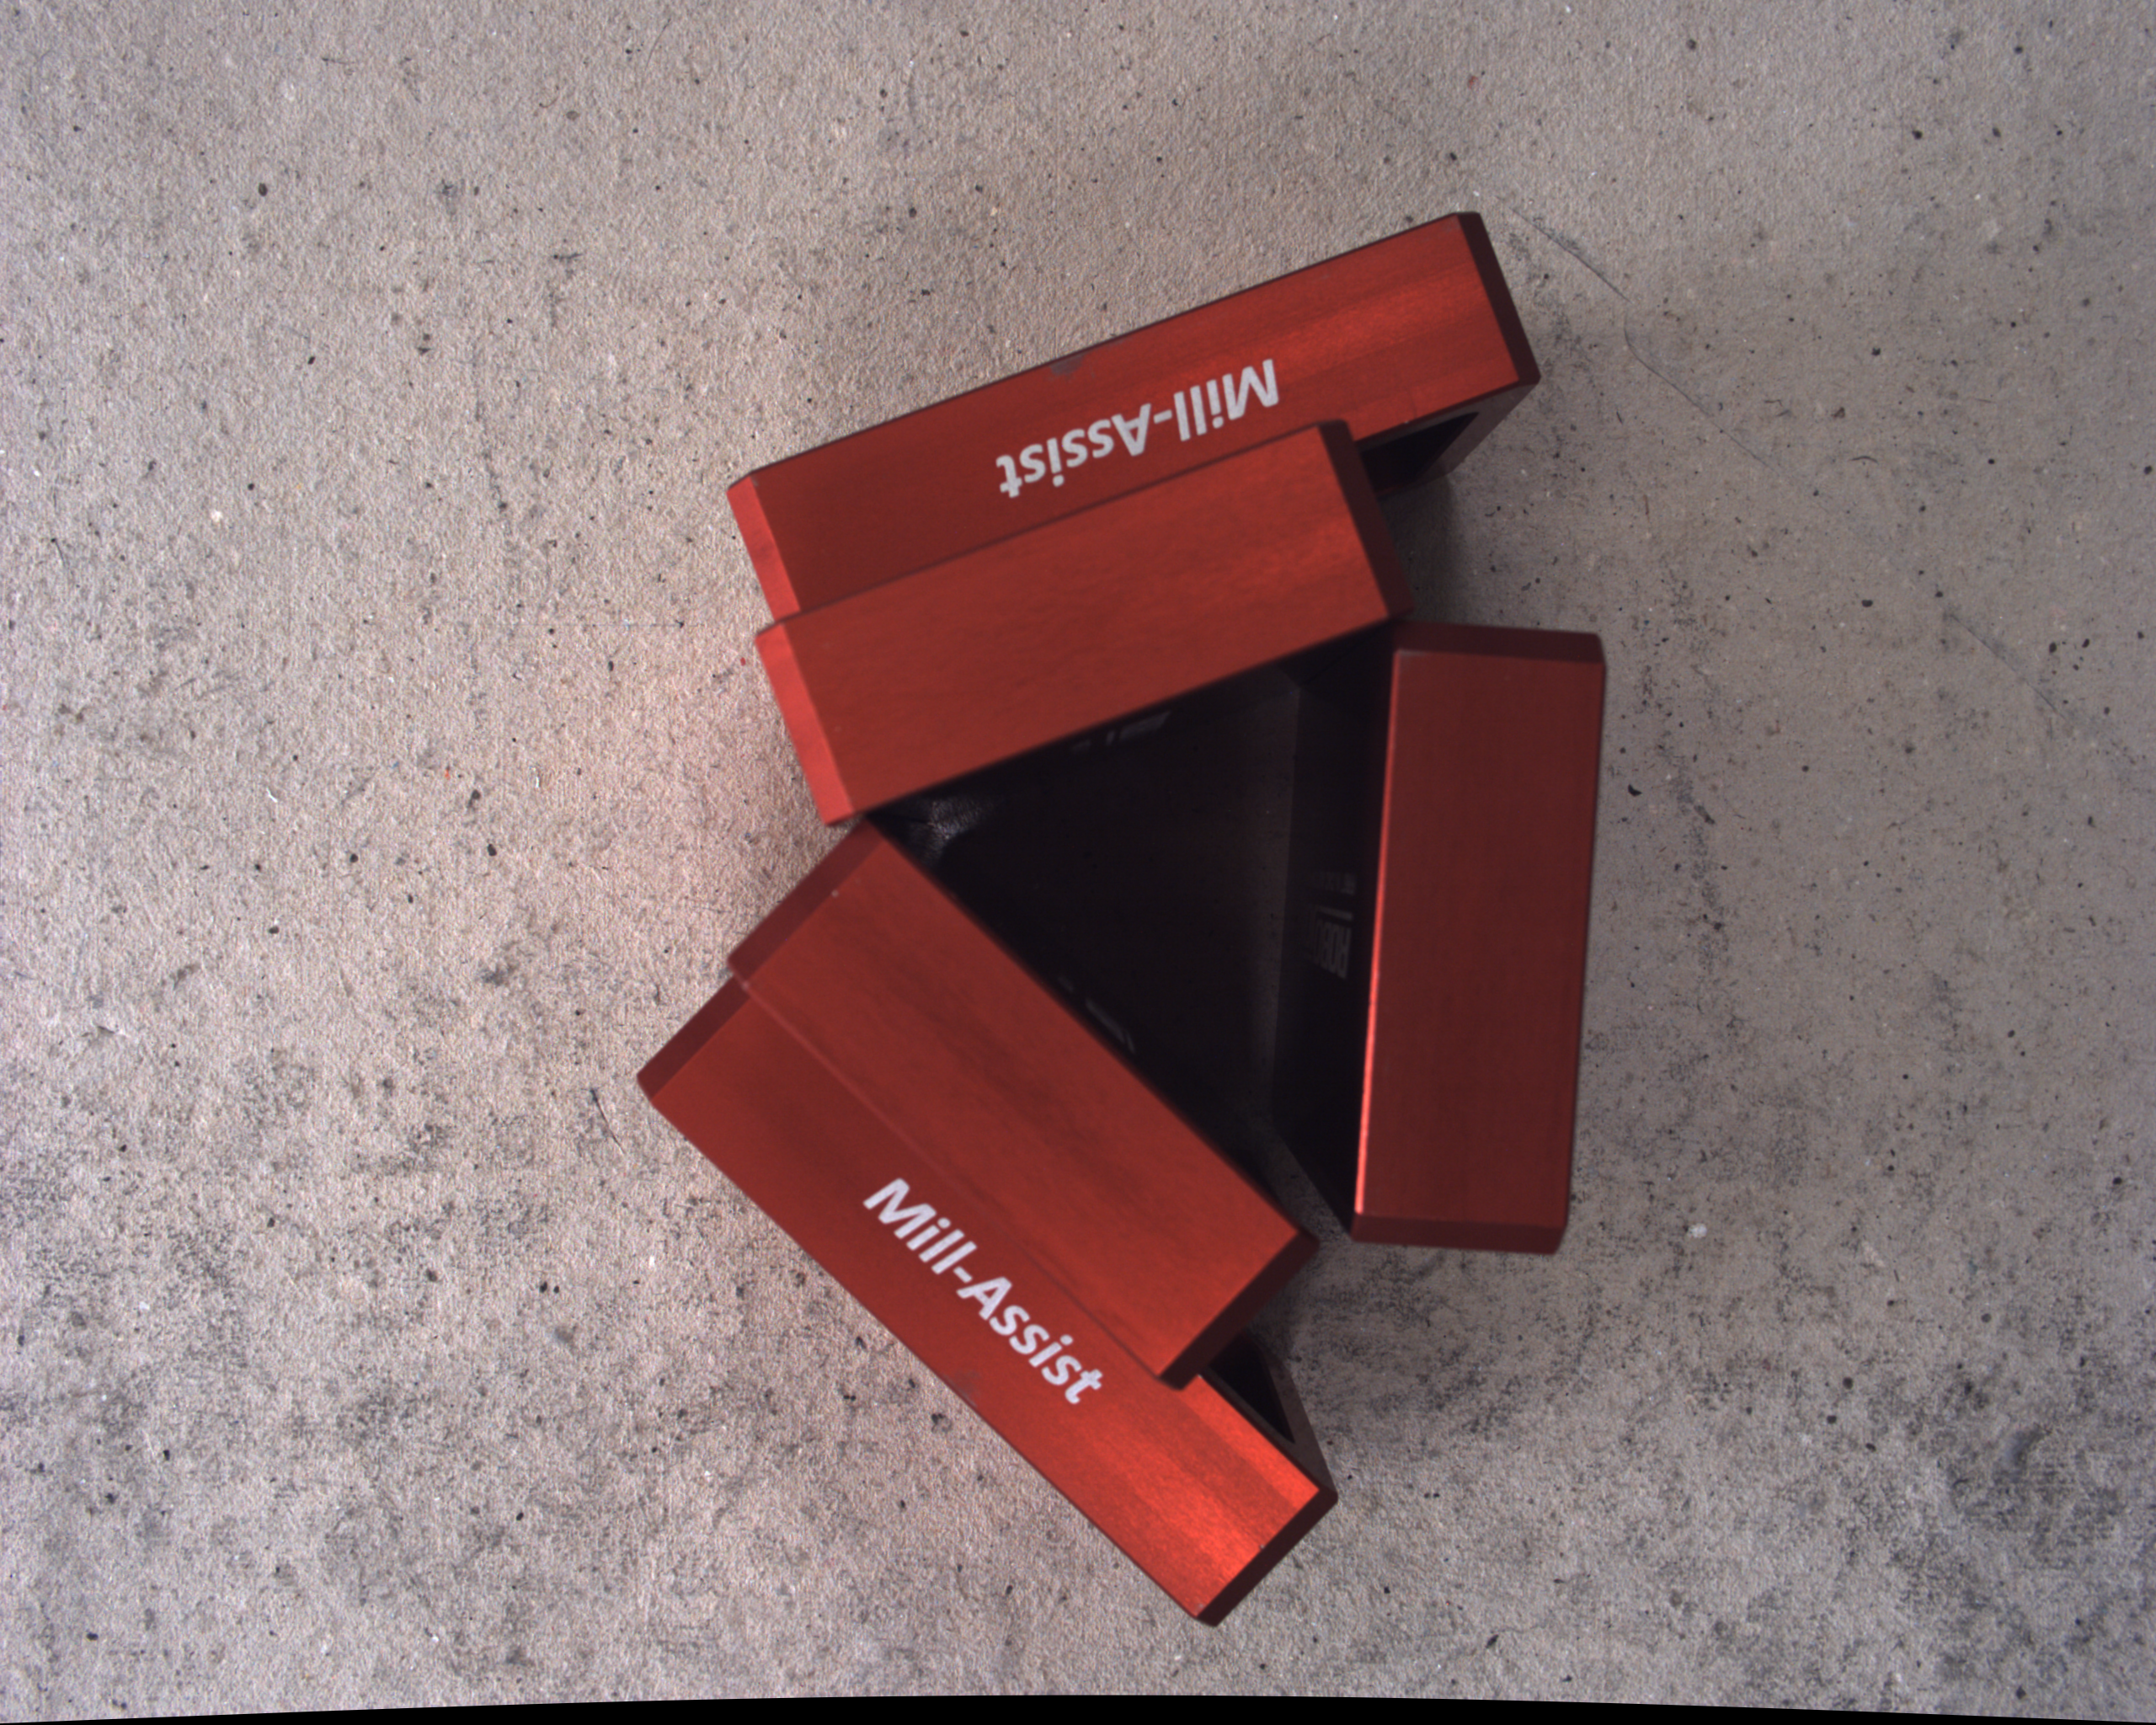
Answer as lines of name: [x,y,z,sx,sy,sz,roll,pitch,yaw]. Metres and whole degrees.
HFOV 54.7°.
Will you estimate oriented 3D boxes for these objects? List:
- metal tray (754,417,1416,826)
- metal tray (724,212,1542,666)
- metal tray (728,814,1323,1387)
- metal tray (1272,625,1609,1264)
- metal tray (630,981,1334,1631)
metal tray: [0.001,-0.035,0.358,0.090,0.130,0.030,-20,91,0]
metal tray: [0.009,-0.070,0.378,0.131,0.090,0.030,-20,90,0]
metal tray: [-0.008,0.034,0.358,0.090,0.130,0.030,43,90,0]
metal tray: [0.057,0.011,0.358,0.030,0.130,0.089,5,91,0]
metal tray: [-0.015,0.069,0.377,0.130,0.090,0.030,44,91,0]
